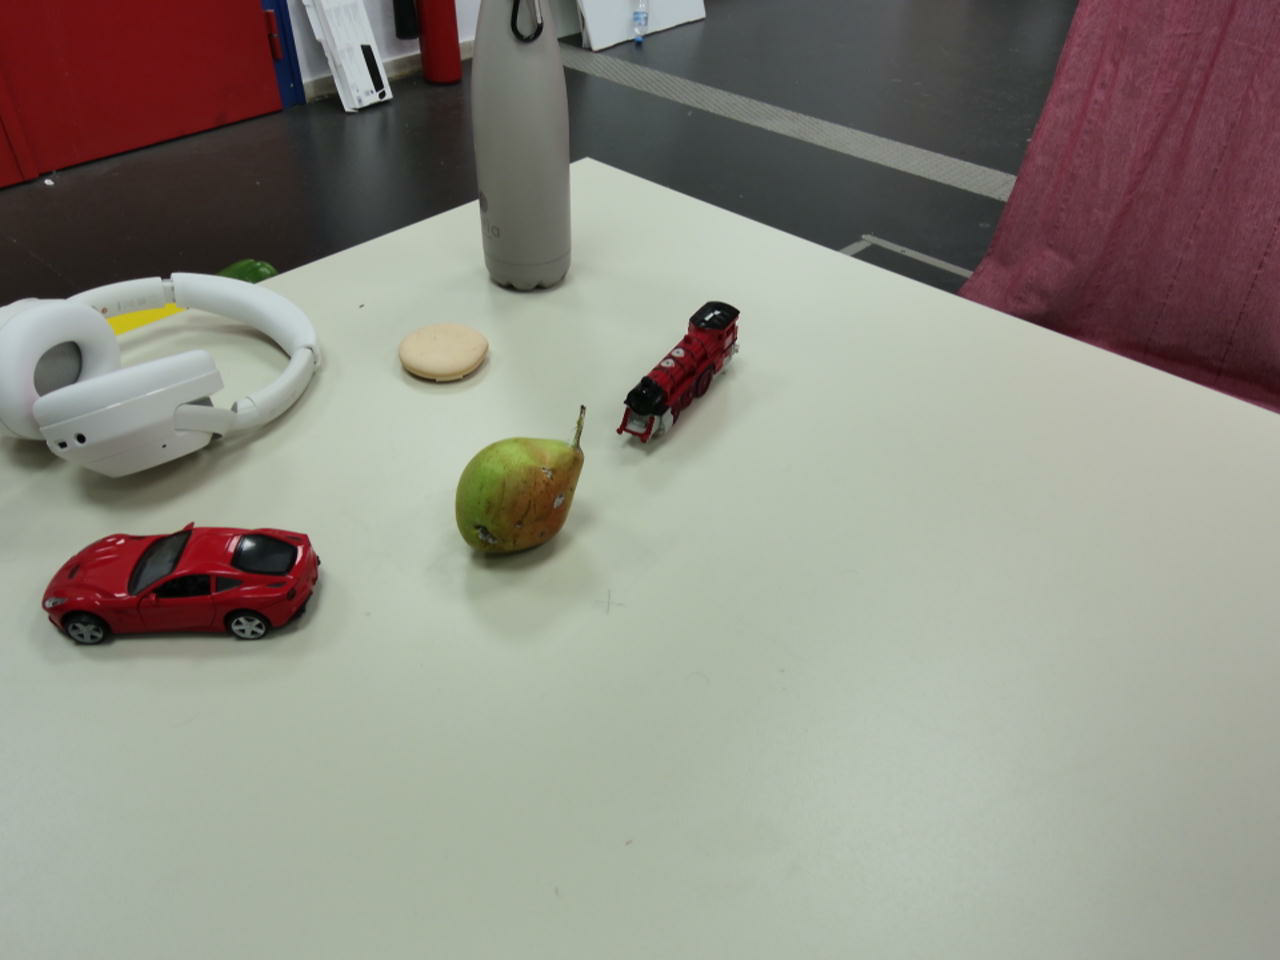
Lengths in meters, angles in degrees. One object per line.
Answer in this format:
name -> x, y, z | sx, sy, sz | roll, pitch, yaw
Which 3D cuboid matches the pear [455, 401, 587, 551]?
pear -> -0.066, 0.004, 0.554 | 0.070, 0.069, 0.068 | 2, 38, 1
